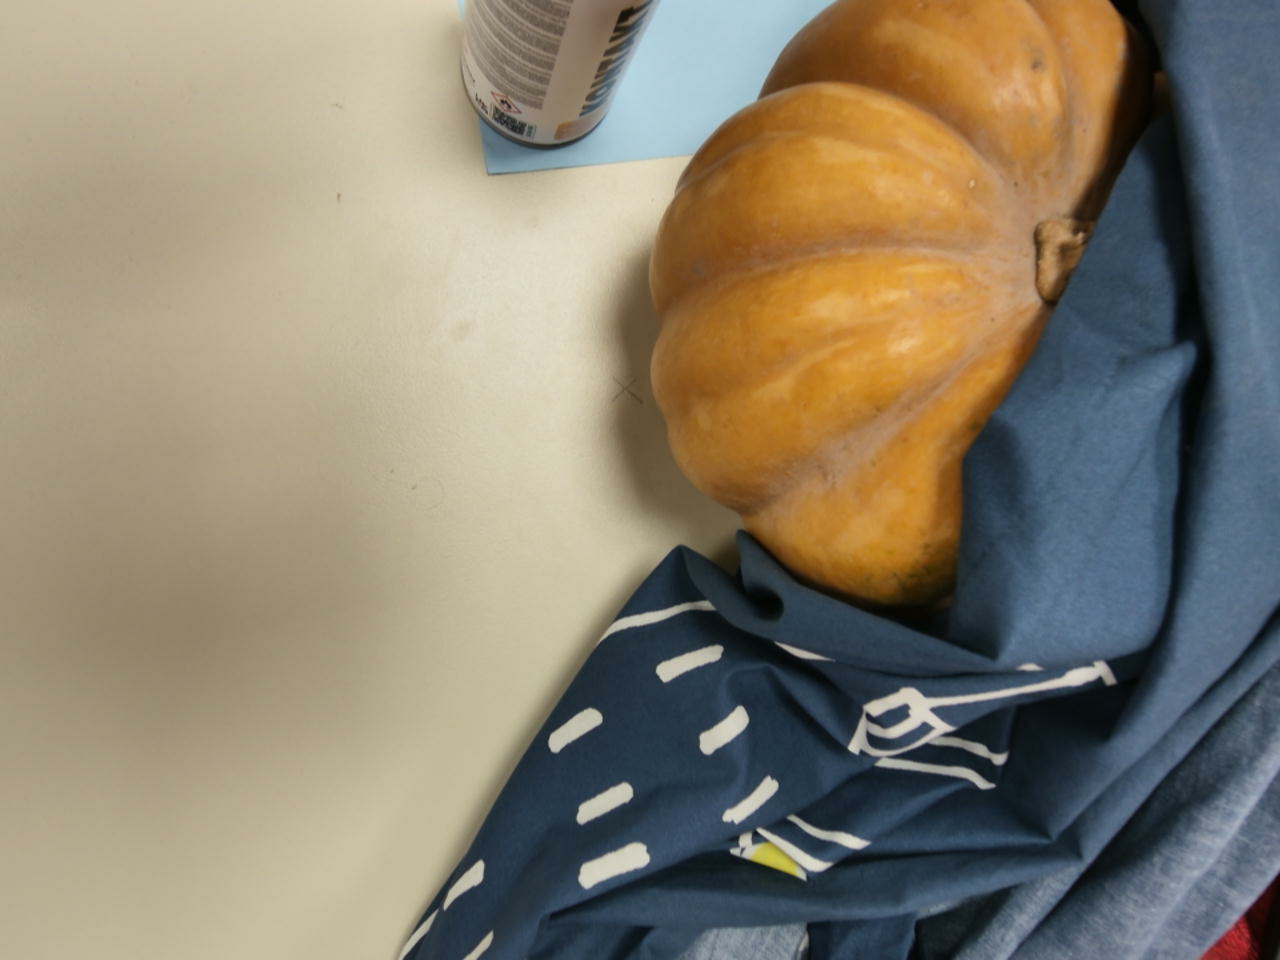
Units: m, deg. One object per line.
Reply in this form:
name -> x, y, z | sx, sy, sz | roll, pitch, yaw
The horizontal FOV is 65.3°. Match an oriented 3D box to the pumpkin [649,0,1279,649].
pumpkin -> 0.113, -0.053, 0.359 | 0.230, 0.194, 0.230 | 0, 91, -12
